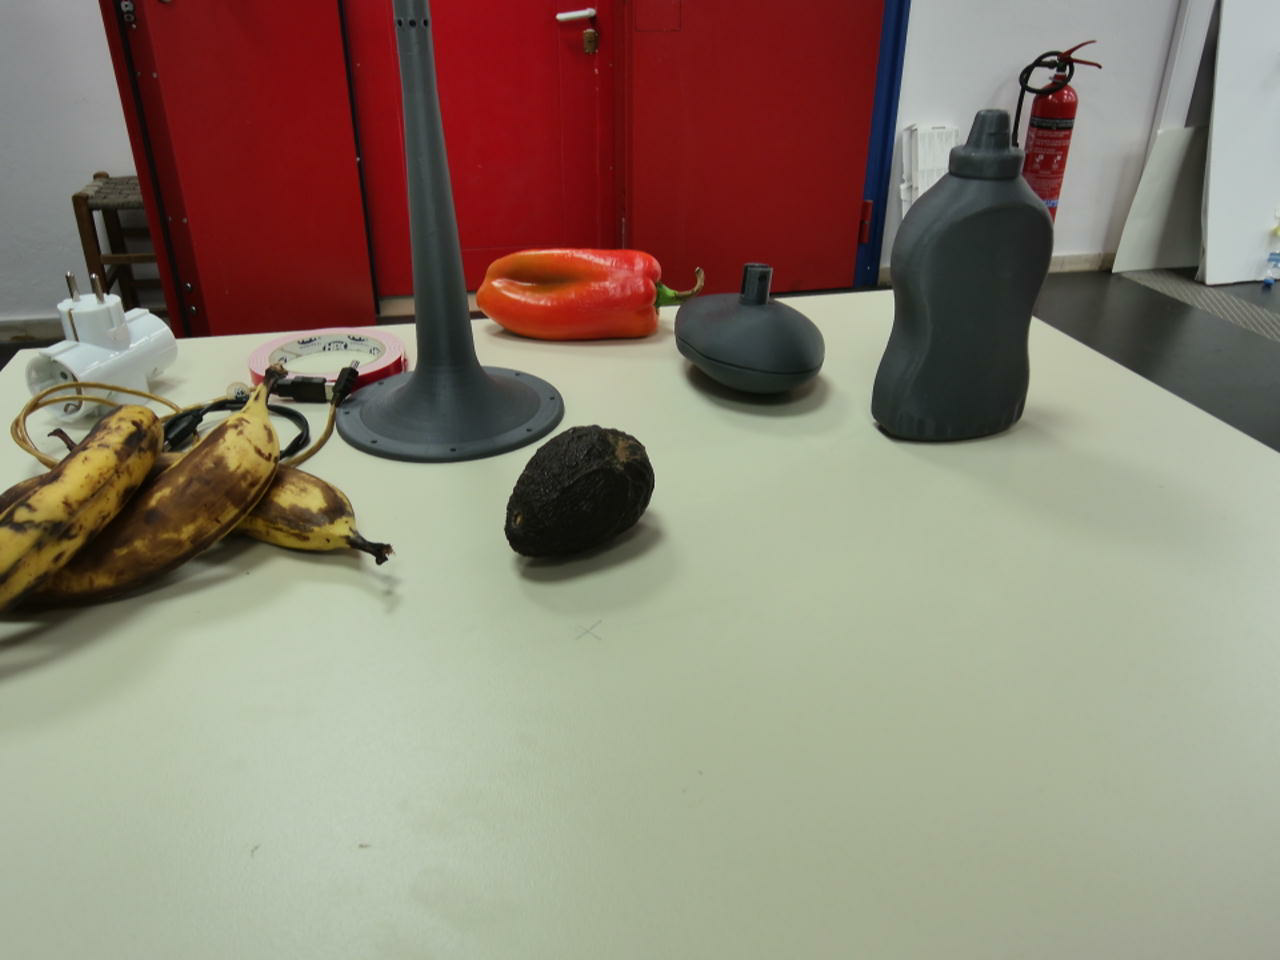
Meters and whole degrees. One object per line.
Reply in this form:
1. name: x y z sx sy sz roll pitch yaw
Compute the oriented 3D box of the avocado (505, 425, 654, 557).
1. avocado: -0.033 0.005 0.524 0.092 0.062 0.062 -18 31 -32
